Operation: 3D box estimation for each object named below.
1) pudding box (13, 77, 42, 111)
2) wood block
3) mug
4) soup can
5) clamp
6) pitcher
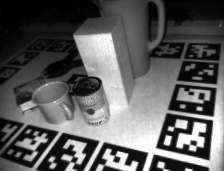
[{"bbox_3d":[-0.247,0.016,0.655,0.090,0.039,0.112,-31,41,-15],"label":"pudding box"},{"bbox_3d":[-0.014,-0.070,0.545,0.089,0.208,0.091,5,43,19],"label":"wood block"},{"bbox_3d":[-0.141,0.040,0.553,0.094,0.082,0.115,-28,39,-20],"label":"mug"},{"bbox_3d":[-0.051,0.026,0.524,0.067,0.103,0.067,-9,41,9],"label":"soup can"},{"bbox_3d":[-0.168,-0.082,0.759,0.166,0.037,0.120,-35,50,-24],"label":"clamp"},{"bbox_3d":[0.050,-0.158,0.608,0.187,0.245,0.133,2,40,25],"label":"pitcher"}]
